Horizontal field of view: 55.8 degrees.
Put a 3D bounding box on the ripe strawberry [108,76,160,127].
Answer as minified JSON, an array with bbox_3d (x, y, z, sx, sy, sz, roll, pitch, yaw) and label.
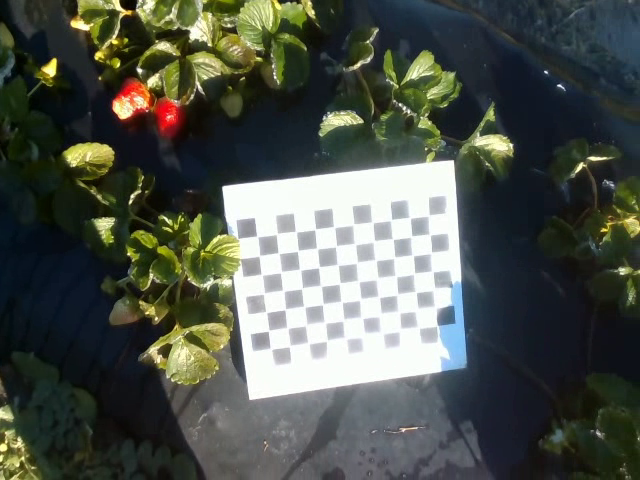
[{"bbox_3d":[-0.266,-0.193,0.851,0.052,0.070,0.040,40,-4,-15],"label":"ripe strawberry"}]

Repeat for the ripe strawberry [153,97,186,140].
[{"bbox_3d":[-0.215,-0.175,0.847,0.043,0.059,0.040,-7,3,-4],"label":"ripe strawberry"}]
